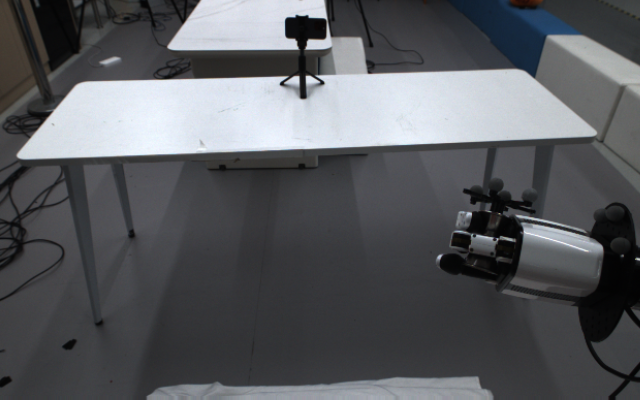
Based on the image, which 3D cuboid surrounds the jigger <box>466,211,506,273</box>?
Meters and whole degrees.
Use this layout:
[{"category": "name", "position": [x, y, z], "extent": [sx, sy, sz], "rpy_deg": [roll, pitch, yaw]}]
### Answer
[{"category": "jigger", "position": [0.201, 0.049, 0.578], "extent": [0.043, 0.071, 0.043], "rpy_deg": [19, -6, 2]}]
